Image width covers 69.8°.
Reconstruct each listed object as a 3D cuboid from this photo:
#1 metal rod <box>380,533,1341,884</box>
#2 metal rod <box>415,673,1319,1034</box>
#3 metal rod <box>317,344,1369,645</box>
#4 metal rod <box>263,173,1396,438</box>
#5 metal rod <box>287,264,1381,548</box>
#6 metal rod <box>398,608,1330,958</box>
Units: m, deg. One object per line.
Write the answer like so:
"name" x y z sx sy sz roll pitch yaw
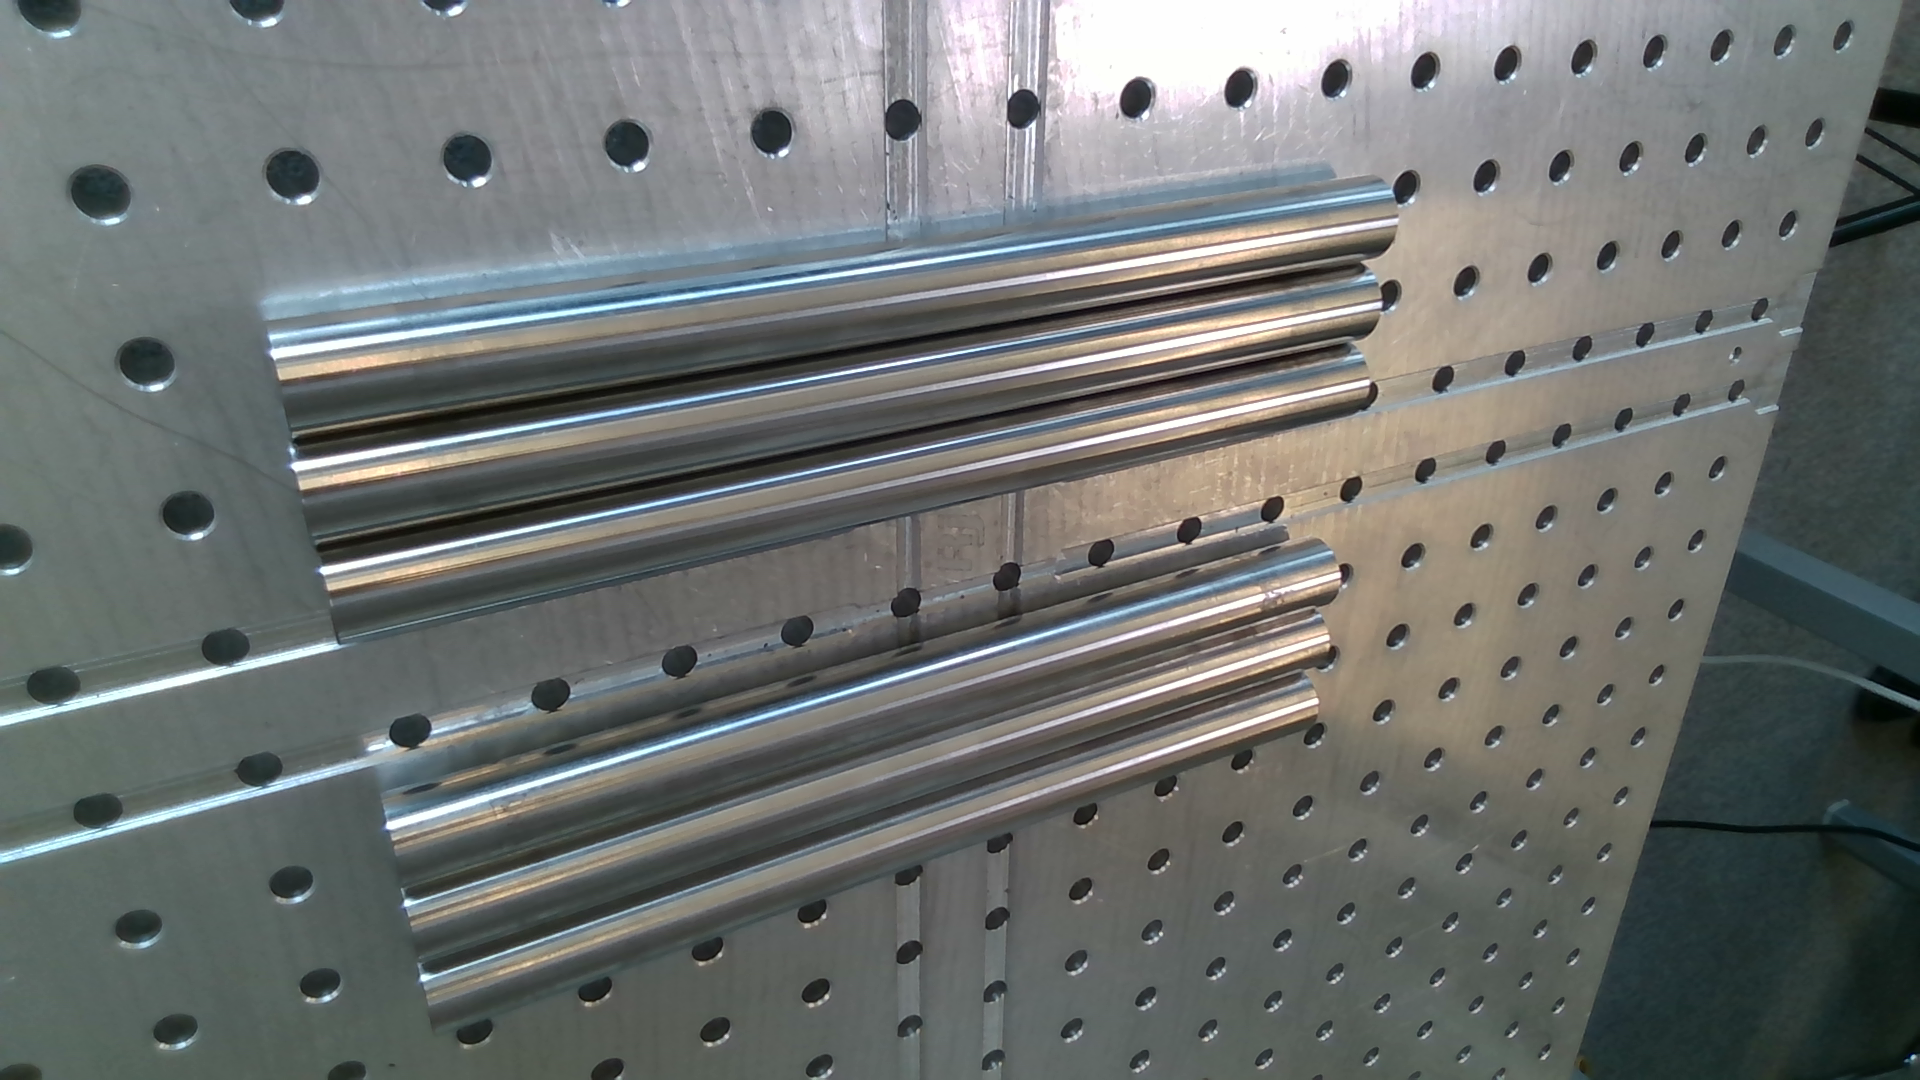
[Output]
"metal rod" -0.010 0.042 0.408 0.300 0.025 0.025 -14 121 -25
"metal rod" -0.011 0.088 0.432 0.300 0.025 0.025 -14 121 -25
"metal rod" -0.011 -0.020 0.374 0.300 0.025 0.025 -14 121 -25
"metal rod" -0.010 -0.065 0.350 0.300 0.025 0.025 -14 121 -25
"metal rod" -0.011 -0.042 0.362 0.300 0.025 0.025 -14 121 -25
"metal rod" -0.011 0.064 0.419 0.300 0.025 0.025 -14 121 -25
